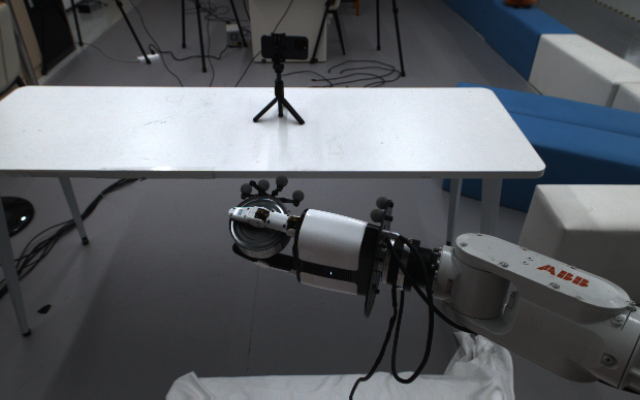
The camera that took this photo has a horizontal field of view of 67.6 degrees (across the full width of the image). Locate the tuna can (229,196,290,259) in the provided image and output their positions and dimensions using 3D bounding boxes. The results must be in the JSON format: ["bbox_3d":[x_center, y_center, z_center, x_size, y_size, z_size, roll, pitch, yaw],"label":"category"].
[{"bbox_3d":[-0.082,0.037,0.680,0.085,0.034,0.085,-2,57,4],"label":"tuna can"}]
